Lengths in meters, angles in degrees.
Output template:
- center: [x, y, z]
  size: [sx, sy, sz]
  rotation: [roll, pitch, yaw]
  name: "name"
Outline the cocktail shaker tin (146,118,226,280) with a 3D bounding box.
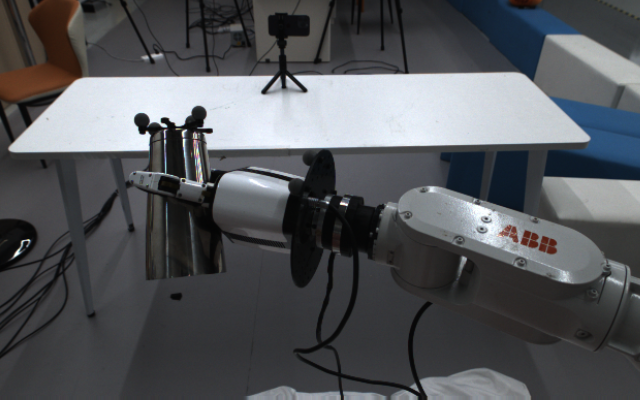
- center: [-0.165, 0.007, 0.579]
  size: [0.093, 0.170, 0.093]
  rotation: [-6, -7, -1]
  name: "cocktail shaker tin"
